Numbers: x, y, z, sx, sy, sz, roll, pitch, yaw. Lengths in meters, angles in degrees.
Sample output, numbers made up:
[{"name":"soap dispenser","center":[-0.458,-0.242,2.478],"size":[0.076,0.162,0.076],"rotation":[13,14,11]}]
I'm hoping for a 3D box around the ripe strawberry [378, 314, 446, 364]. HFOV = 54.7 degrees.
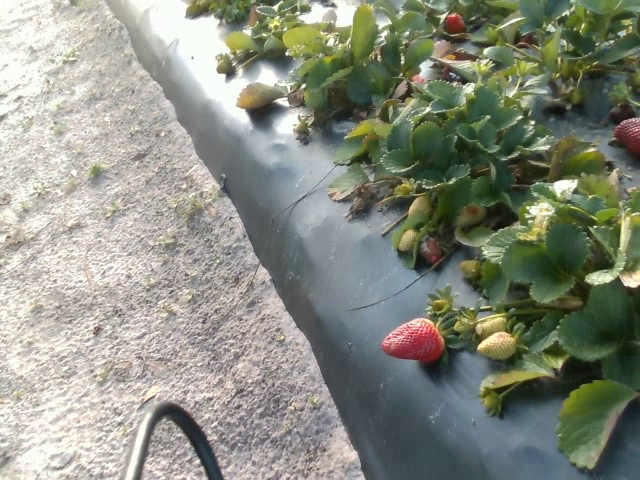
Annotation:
[{"name":"ripe strawberry","center":[0.099,0.109,0.666],"size":[0.067,0.045,0.053],"rotation":[-16,38,-13]}]
